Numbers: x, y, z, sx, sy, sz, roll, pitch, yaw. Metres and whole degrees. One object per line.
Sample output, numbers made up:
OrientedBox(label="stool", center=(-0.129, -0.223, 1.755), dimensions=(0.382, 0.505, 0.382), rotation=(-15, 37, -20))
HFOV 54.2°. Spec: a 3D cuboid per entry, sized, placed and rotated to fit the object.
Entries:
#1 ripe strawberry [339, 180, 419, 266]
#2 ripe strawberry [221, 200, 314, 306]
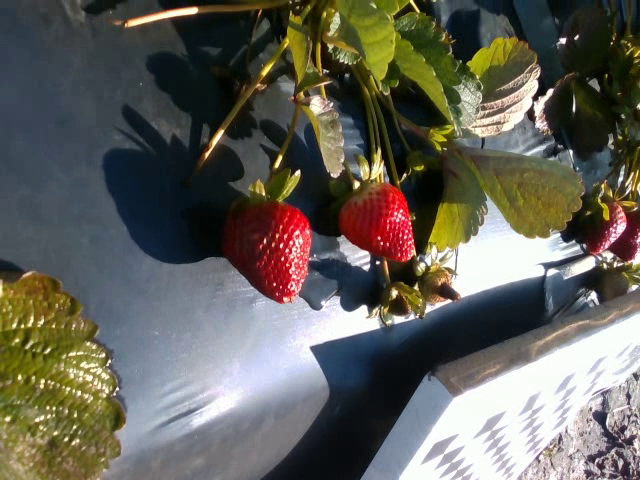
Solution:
OrientedBox(label="ripe strawberry", center=(0.033, -0.007, 0.322), dimensions=(0.042, 0.049, 0.039), rotation=(-37, -6, -3))
OrientedBox(label="ripe strawberry", center=(-0.021, 0.007, 0.275), dimensions=(0.044, 0.050, 0.050), rotation=(-32, -24, 31))
